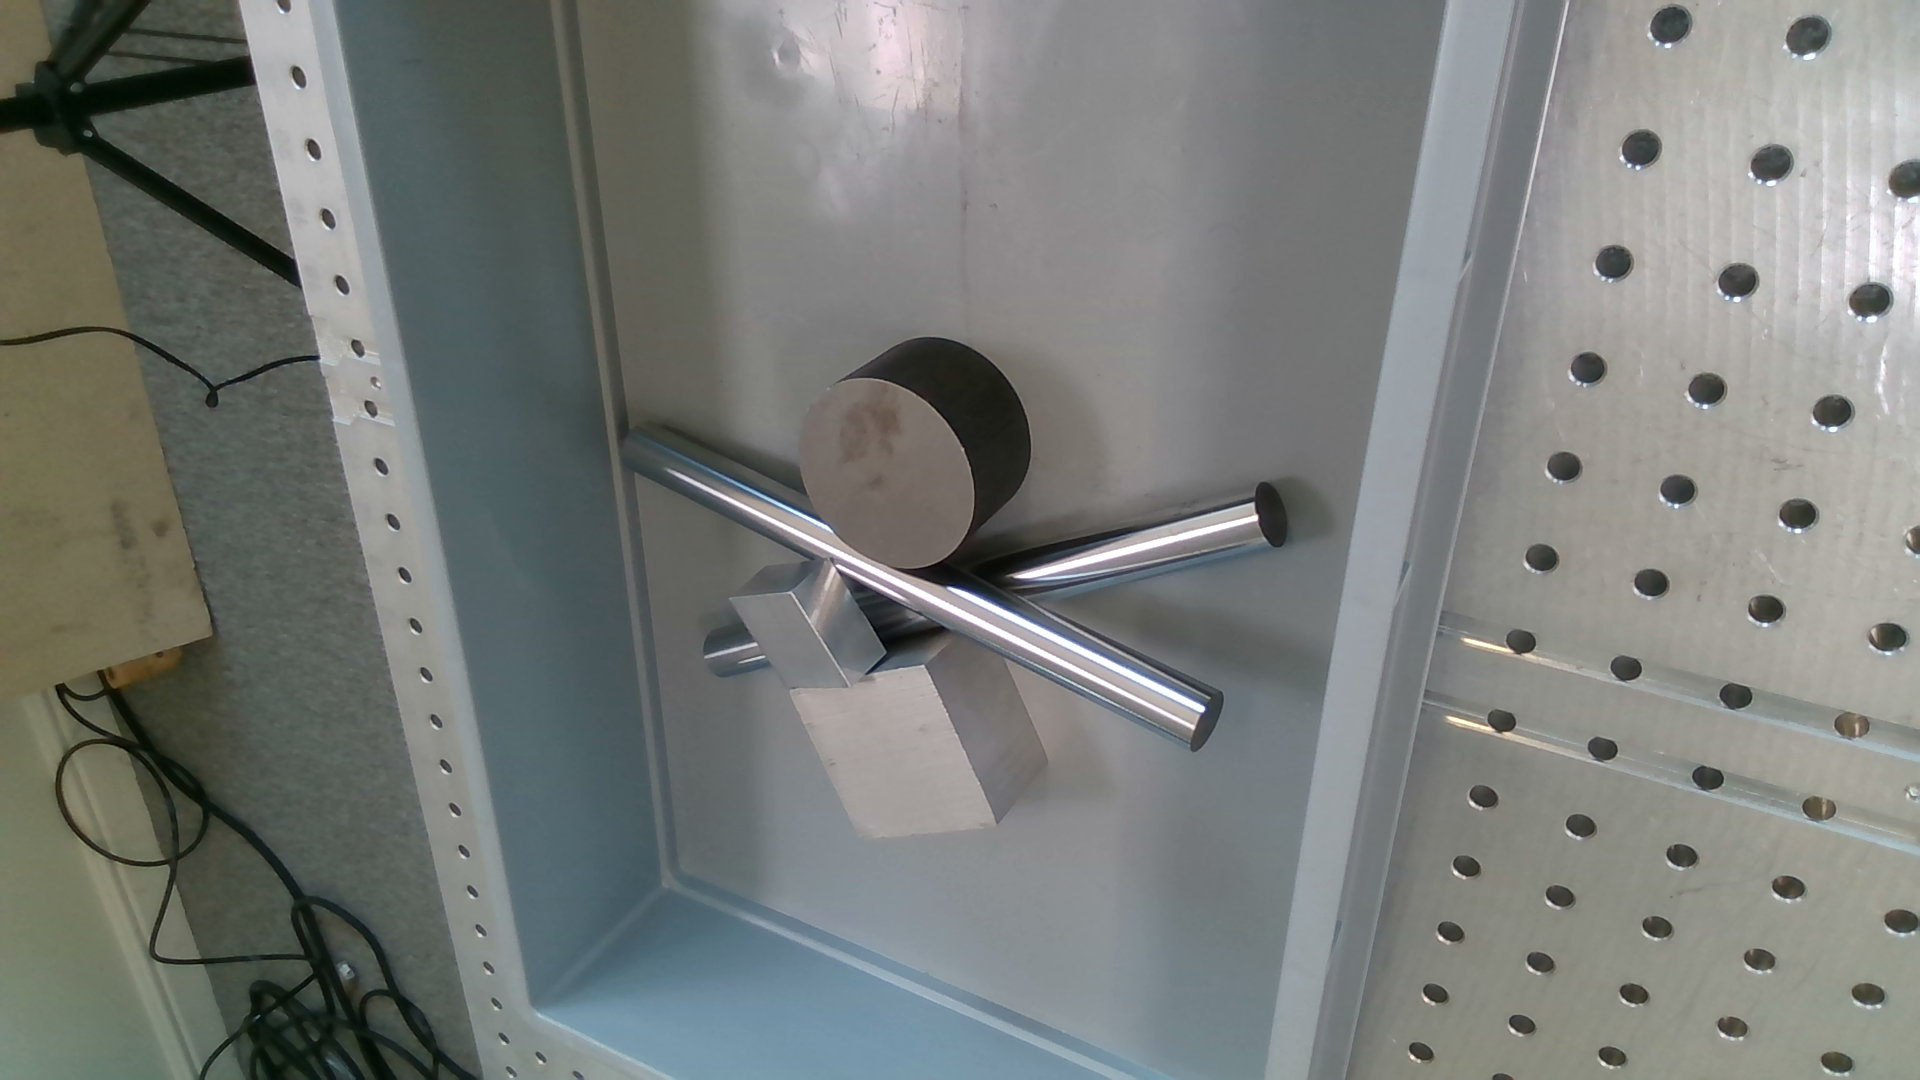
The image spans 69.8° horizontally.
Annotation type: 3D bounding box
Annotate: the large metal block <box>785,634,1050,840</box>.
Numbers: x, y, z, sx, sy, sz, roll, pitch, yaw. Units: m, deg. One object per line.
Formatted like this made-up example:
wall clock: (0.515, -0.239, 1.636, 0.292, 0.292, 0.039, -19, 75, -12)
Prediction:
large metal block: (-0.019, 0.084, 0.620, 0.080, 0.050, 0.080, -15, 107, 36)

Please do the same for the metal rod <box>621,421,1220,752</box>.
metal rod: (-0.030, 0.011, 0.578, 0.300, 0.025, 0.025, 25, 126, 28)

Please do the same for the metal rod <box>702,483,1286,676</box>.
metal rod: (-0.002, 0.023, 0.593, 0.300, 0.025, 0.025, -16, 106, 37)

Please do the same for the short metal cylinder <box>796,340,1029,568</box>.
short metal cylinder: (-0.019, -0.036, 0.555, 0.080, 0.050, 0.080, 15, 123, 24)

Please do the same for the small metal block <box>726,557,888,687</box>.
small metal block: (-0.067, 0.037, 0.599, 0.050, 0.025, 0.050, -6, 120, 50)
